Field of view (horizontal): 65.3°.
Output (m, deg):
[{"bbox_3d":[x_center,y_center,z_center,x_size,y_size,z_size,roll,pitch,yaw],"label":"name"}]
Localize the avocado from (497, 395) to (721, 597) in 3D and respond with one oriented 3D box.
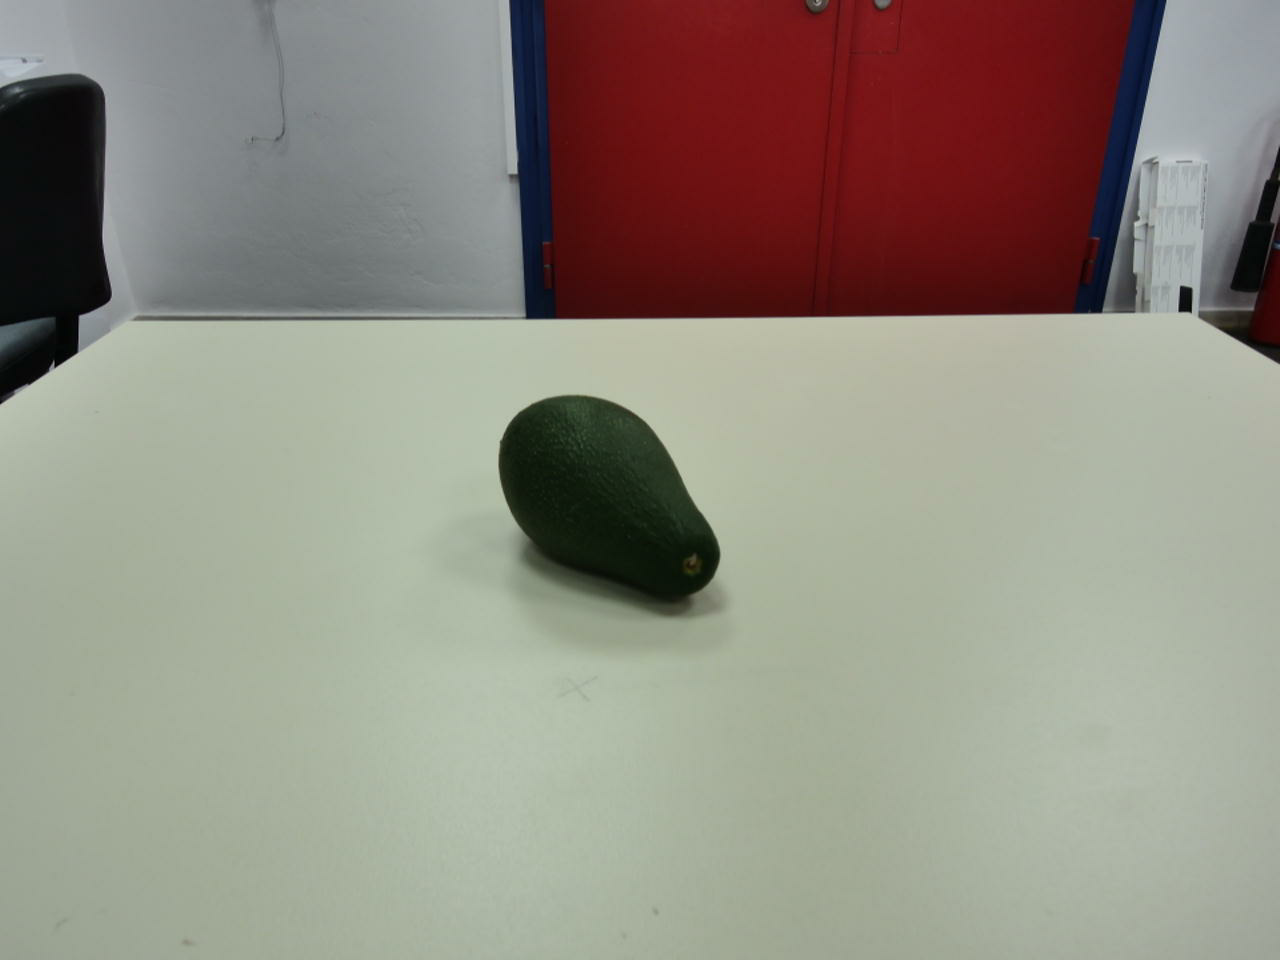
[{"bbox_3d":[-0.017,0.006,0.420,0.072,0.071,0.109,-11,26,-21],"label":"avocado"}]
